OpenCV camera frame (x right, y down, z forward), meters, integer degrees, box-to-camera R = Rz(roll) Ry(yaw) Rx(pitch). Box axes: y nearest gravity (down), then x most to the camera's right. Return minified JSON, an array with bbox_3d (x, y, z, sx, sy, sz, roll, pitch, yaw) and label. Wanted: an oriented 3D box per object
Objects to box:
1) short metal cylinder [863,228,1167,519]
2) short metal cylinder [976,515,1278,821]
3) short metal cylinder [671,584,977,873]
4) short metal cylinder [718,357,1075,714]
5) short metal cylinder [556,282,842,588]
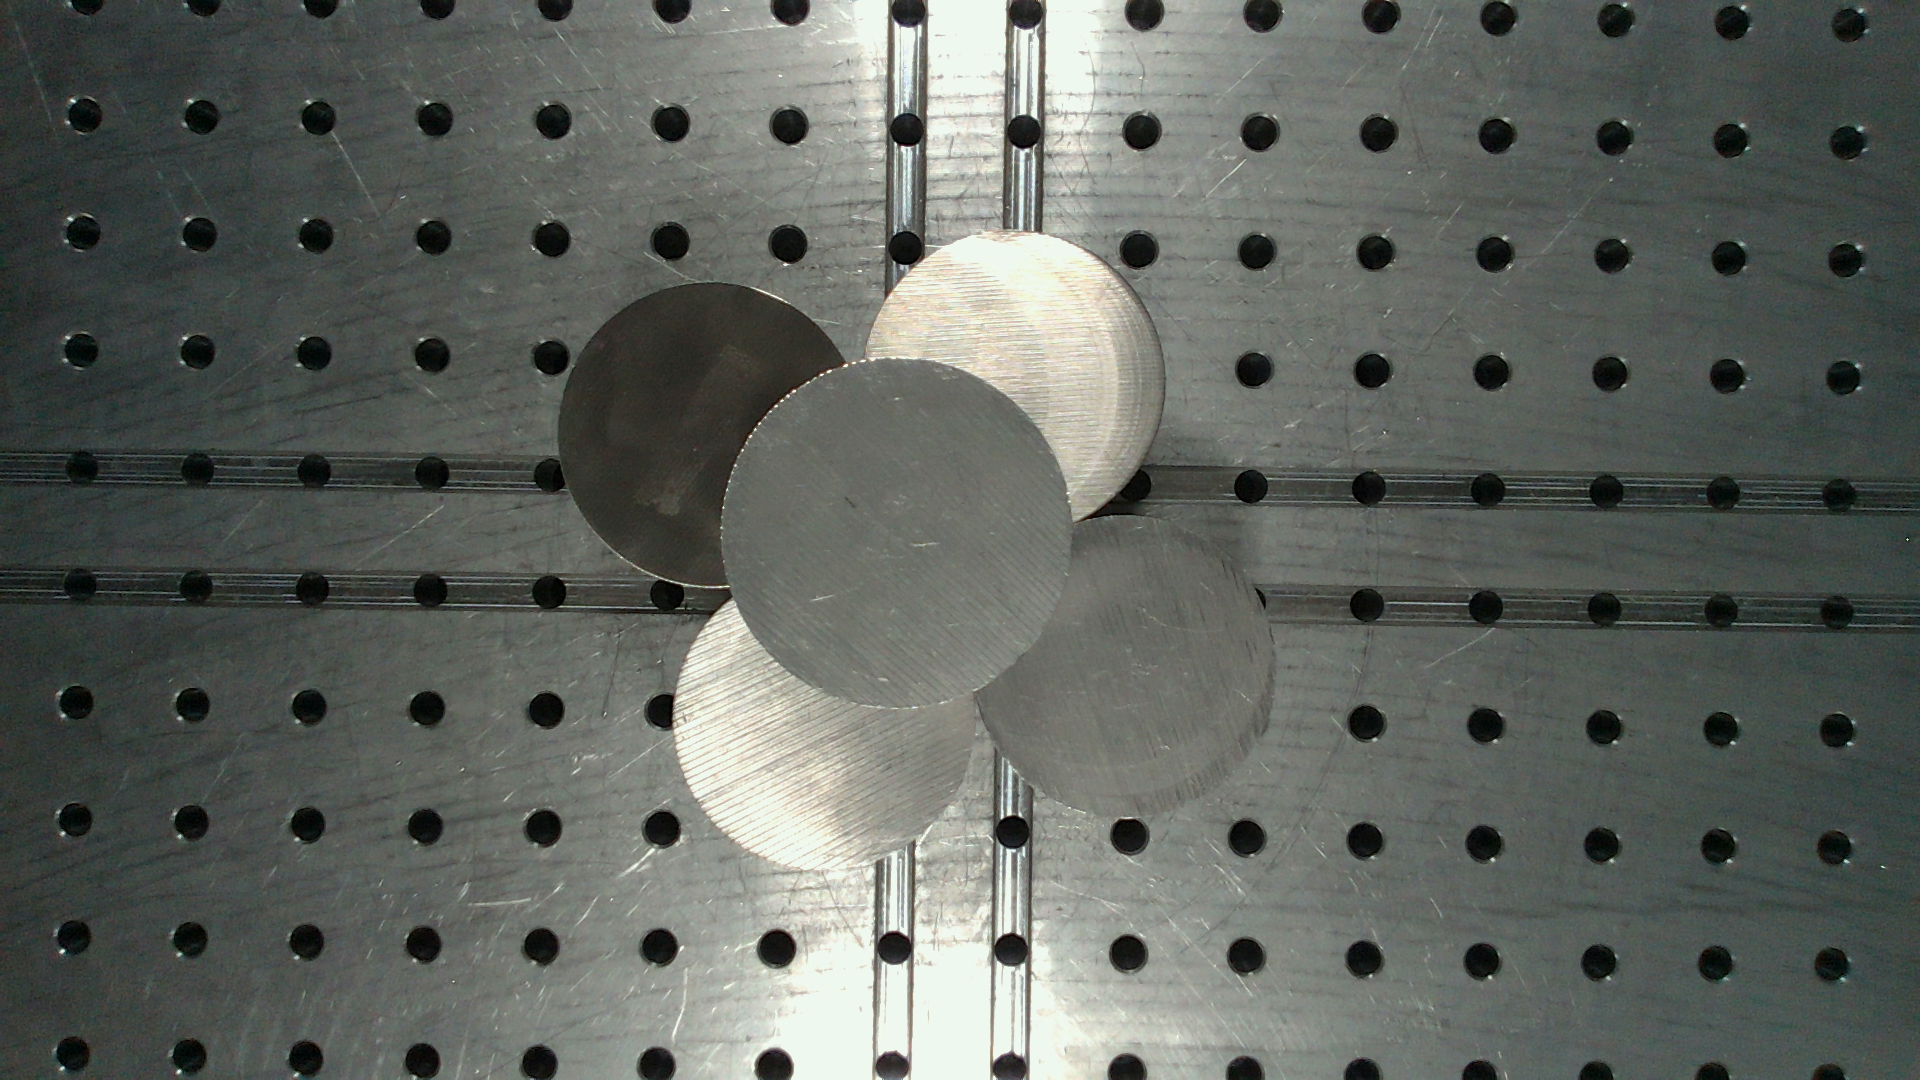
[{"bbox_3d":[0.014,-0.042,0.384,0.080,0.050,0.080,0,90,0],"label":"short metal cylinder"},{"bbox_3d":[0.043,0.033,0.385,0.080,0.050,0.080,0,90,0],"label":"short metal cylinder"},{"bbox_3d":[-0.035,0.047,0.385,0.080,0.050,0.080,0,90,0],"label":"short metal cylinder"},{"bbox_3d":[-0.014,-0.002,0.333,0.080,0.050,0.080,0,92,-1],"label":"short metal cylinder"},{"bbox_3d":[-0.065,-0.027,0.384,0.080,0.050,0.080,0,90,0],"label":"short metal cylinder"}]
